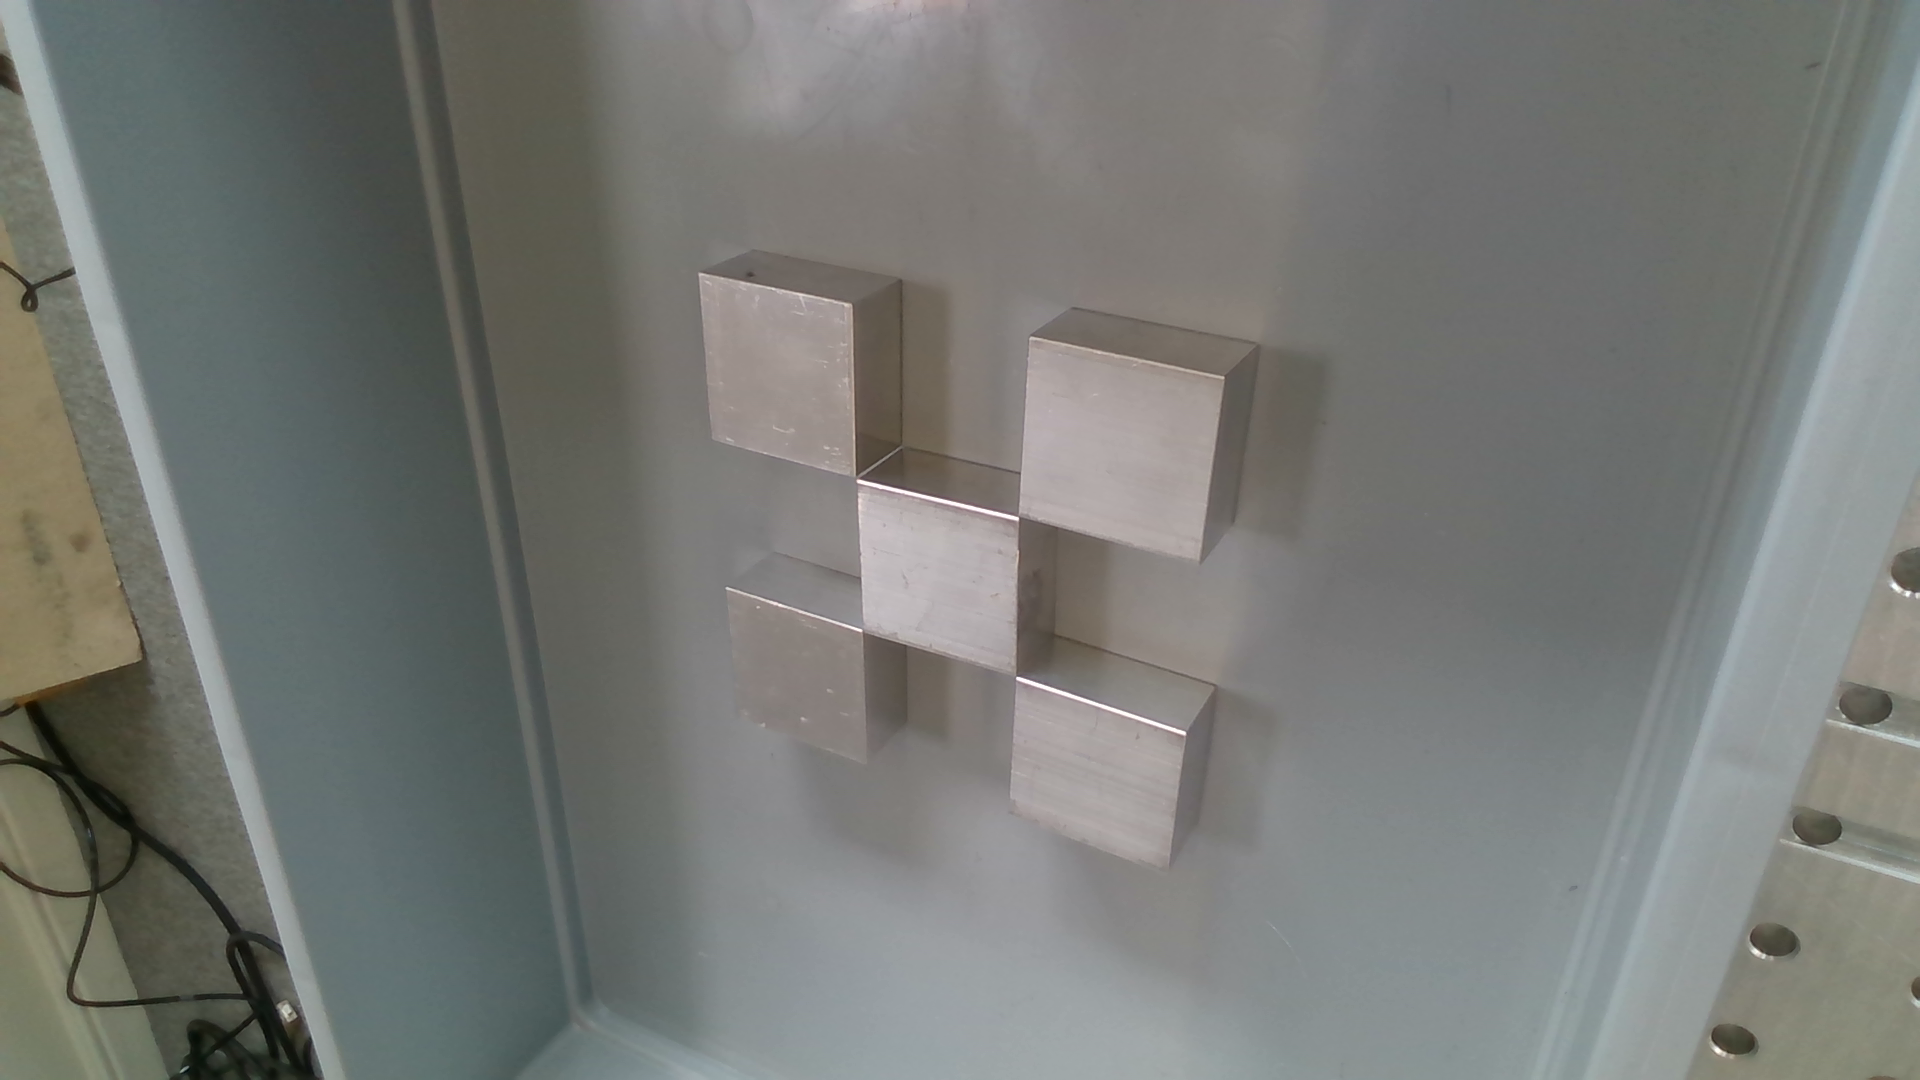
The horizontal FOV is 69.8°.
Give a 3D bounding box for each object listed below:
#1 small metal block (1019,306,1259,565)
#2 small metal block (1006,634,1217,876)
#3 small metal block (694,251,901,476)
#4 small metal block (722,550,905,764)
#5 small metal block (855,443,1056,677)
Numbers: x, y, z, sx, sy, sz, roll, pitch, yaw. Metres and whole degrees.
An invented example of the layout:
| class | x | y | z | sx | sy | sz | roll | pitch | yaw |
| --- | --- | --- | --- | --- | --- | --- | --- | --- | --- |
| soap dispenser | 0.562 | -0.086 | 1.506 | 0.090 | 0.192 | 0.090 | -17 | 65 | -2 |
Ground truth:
| class | x | y | z | sx | sy | sz | roll | pitch | yaw |
| --- | --- | --- | --- | --- | --- | --- | --- | --- | --- |
| small metal block | 0.044 | -0.027 | 0.345 | 0.050 | 0.025 | 0.050 | 16 | 122 | 24 |
| small metal block | 0.042 | 0.061 | 0.394 | 0.050 | 0.025 | 0.050 | 17 | 123 | 24 |
| small metal block | -0.045 | -0.051 | 0.387 | 0.050 | 0.025 | 0.050 | 15 | 122 | 24 |
| small metal block | -0.045 | 0.036 | 0.435 | 0.050 | 0.025 | 0.050 | 16 | 122 | 24 |
| small metal block | -0.001 | 0.005 | 0.390 | 0.050 | 0.025 | 0.050 | 15 | 122 | 25 |
